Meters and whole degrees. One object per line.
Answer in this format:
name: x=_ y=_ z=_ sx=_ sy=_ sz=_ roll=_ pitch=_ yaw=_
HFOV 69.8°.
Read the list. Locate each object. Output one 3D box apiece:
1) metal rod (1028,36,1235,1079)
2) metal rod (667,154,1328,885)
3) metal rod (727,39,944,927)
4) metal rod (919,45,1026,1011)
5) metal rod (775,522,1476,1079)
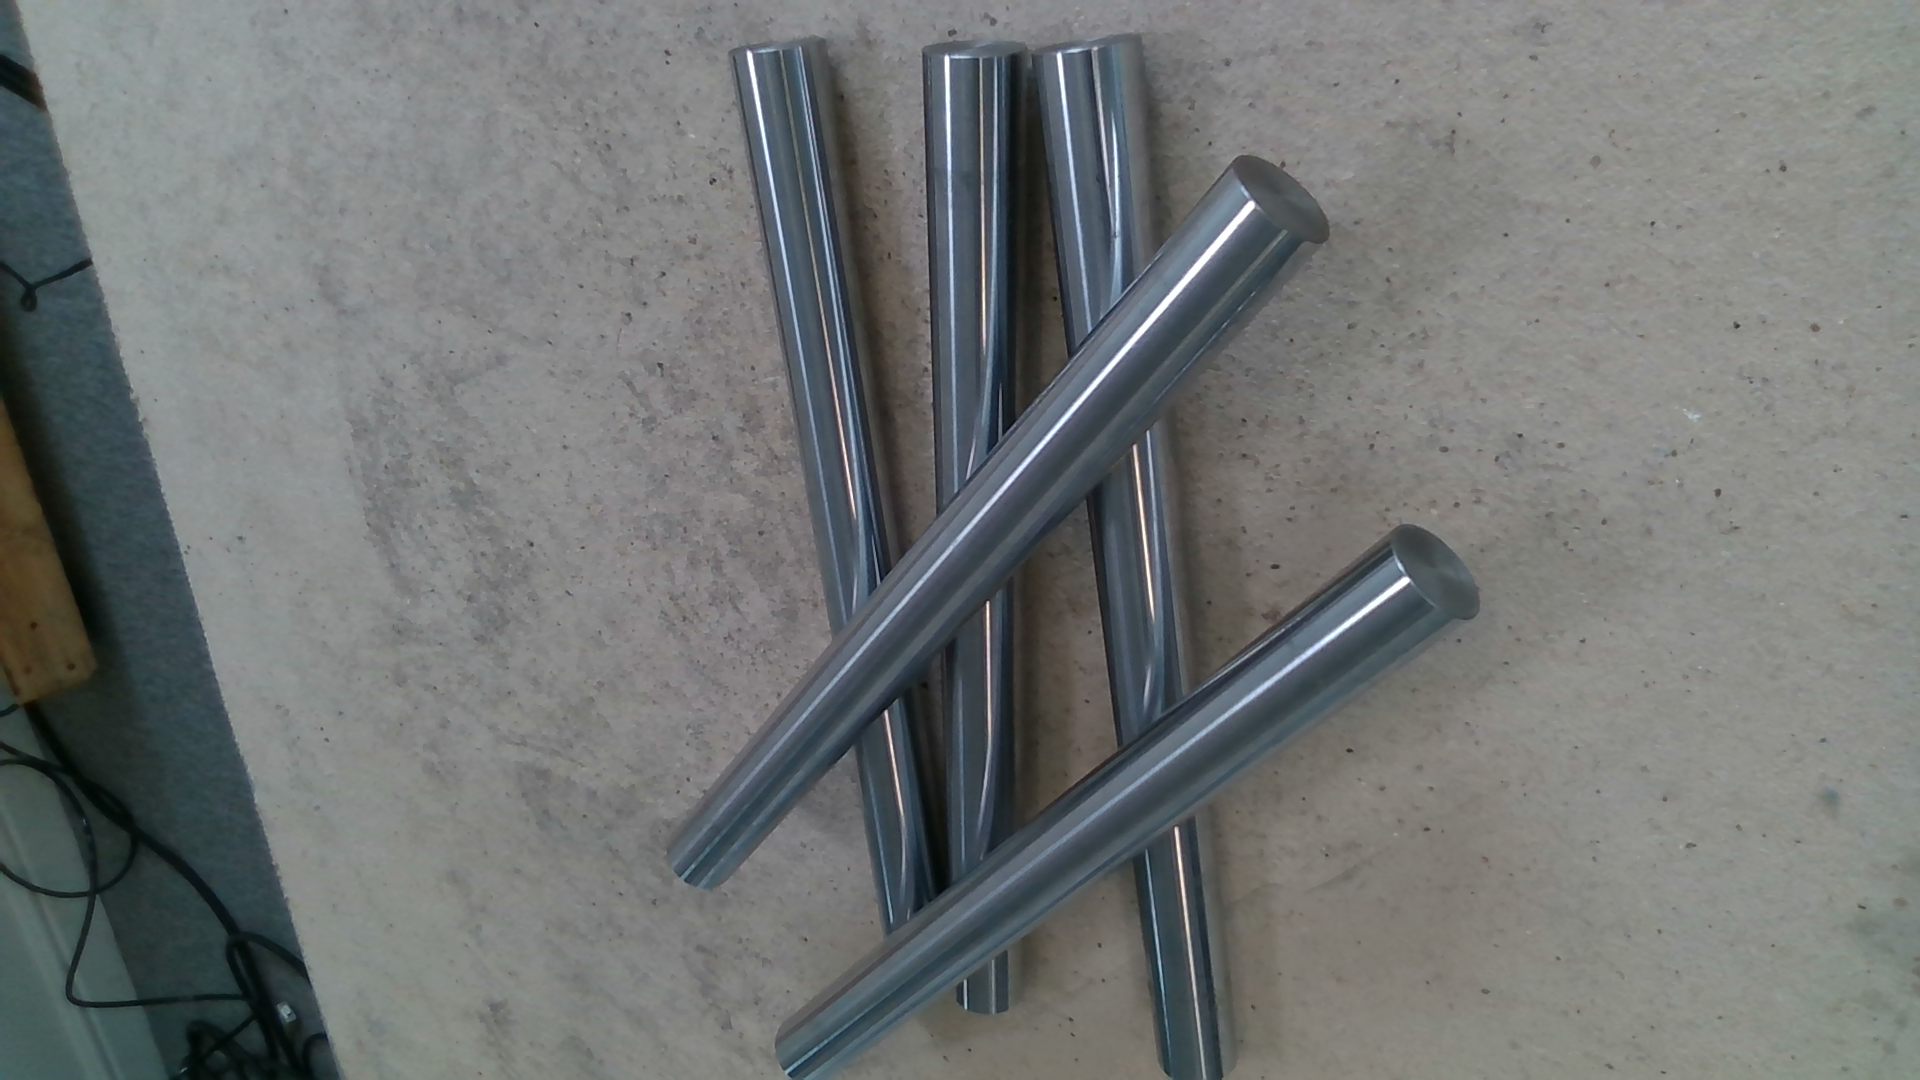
metal rod: x=0.051 y=0.024 z=0.371 sx=0.025 sy=0.025 sz=0.301 roll=5 pitch=118 yaw=30
metal rod: x=-0.012 y=0.018 z=0.374 sx=0.025 sy=0.025 sz=0.301 roll=44 pitch=129 yaw=4
metal rod: x=-0.029 y=0.010 z=0.413 sx=0.025 sy=0.025 sz=0.301 roll=7 pitch=119 yaw=28
metal rod: x=0.006 y=0.017 z=0.395 sx=0.025 sy=0.025 sz=0.301 roll=13 pitch=121 yaw=25
metal rod: x=0.024 y=0.092 z=0.393 sx=0.025 sy=0.025 sz=0.301 roll=45 pitch=129 yaw=3
